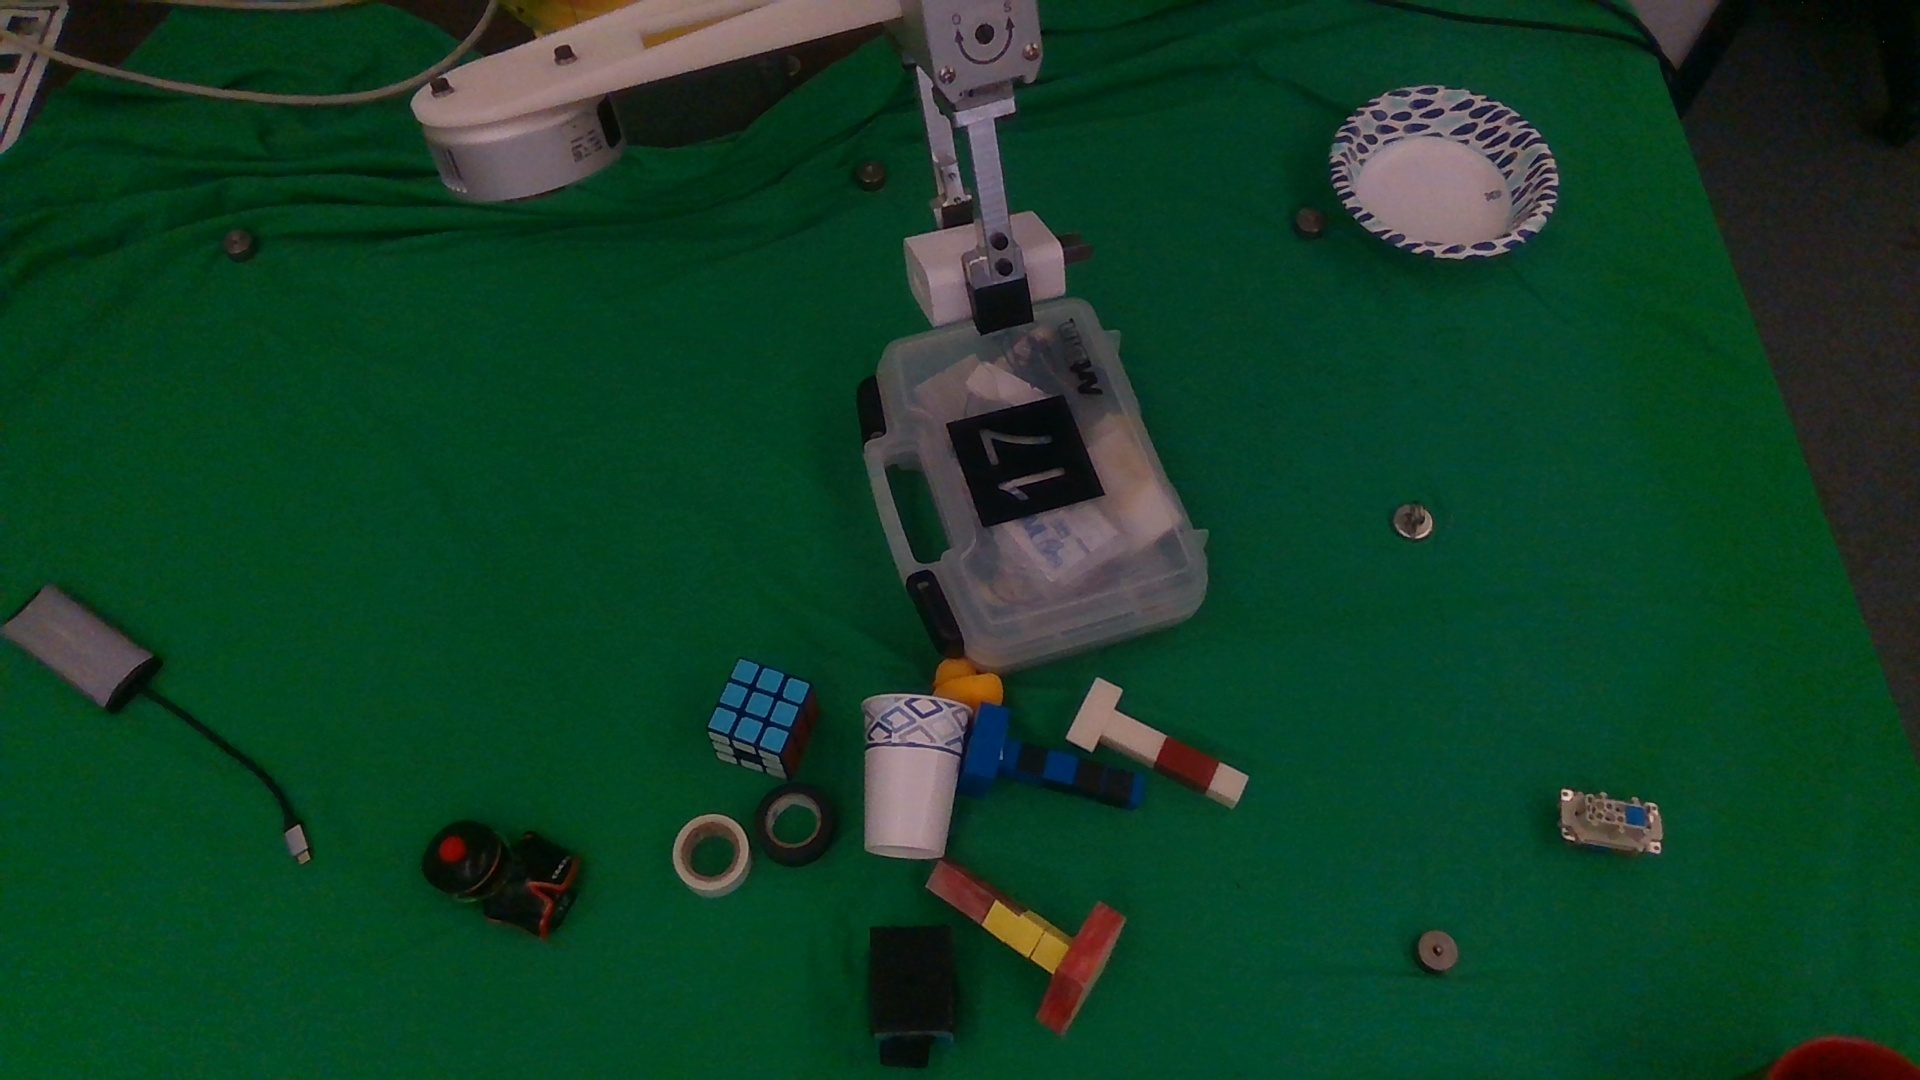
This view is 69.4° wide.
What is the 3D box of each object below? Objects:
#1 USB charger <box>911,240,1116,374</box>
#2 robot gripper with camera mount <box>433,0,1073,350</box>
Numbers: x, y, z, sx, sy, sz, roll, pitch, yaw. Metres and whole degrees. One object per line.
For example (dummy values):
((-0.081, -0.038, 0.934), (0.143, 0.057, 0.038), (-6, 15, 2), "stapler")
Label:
((0.021, -0.093, 0.533), (0.075, 0.029, 0.045), (-14, 44, -2), "USB charger")
((-0.069, -0.126, 0.473), (0.193, 0.158, 0.119), (-15, 36, -10), "robot gripper with camera mount")
